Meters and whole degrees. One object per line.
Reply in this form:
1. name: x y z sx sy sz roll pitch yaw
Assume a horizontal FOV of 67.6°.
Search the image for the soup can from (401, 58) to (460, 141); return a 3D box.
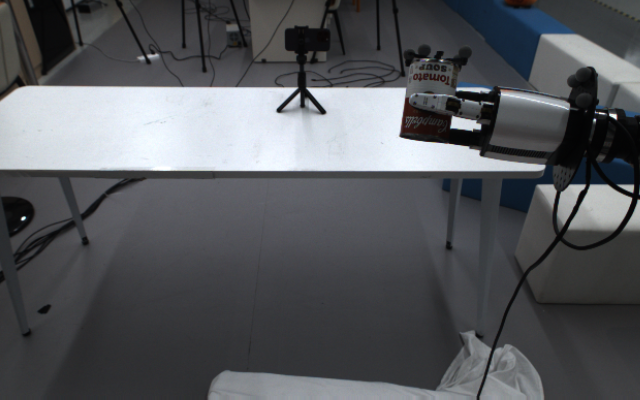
1. soup can: 0.150 -0.135 0.661 0.067 0.101 0.067 7 4 0
